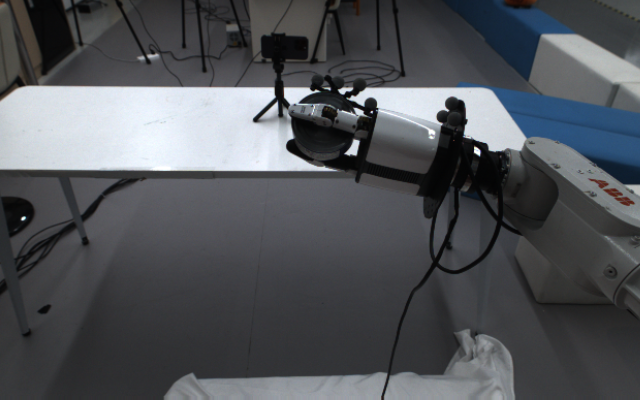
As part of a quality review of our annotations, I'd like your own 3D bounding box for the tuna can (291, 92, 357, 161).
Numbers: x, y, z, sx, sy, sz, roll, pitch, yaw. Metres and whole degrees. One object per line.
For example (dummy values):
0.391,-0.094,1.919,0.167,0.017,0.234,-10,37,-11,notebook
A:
0.006,-0.098,0.638,0.085,0.034,0.085,0,72,0,tuna can
